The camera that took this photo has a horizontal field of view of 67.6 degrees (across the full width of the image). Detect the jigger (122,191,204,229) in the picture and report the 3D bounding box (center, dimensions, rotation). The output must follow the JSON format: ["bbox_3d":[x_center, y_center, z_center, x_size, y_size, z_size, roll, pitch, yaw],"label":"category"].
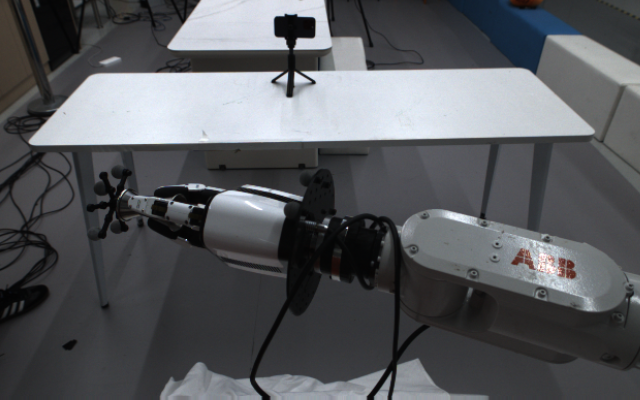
[{"bbox_3d":[-0.190,0.008,0.566,0.071,0.043,0.043,8,35,13],"label":"jigger"}]
